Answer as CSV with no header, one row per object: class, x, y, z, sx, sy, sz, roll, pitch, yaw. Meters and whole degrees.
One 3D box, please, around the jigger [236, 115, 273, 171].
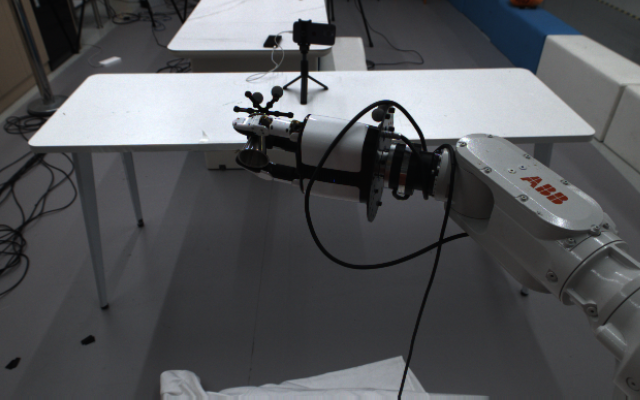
jigger,-0.091,-0.086,0.691,0.043,0.043,0.071,5,60,4
